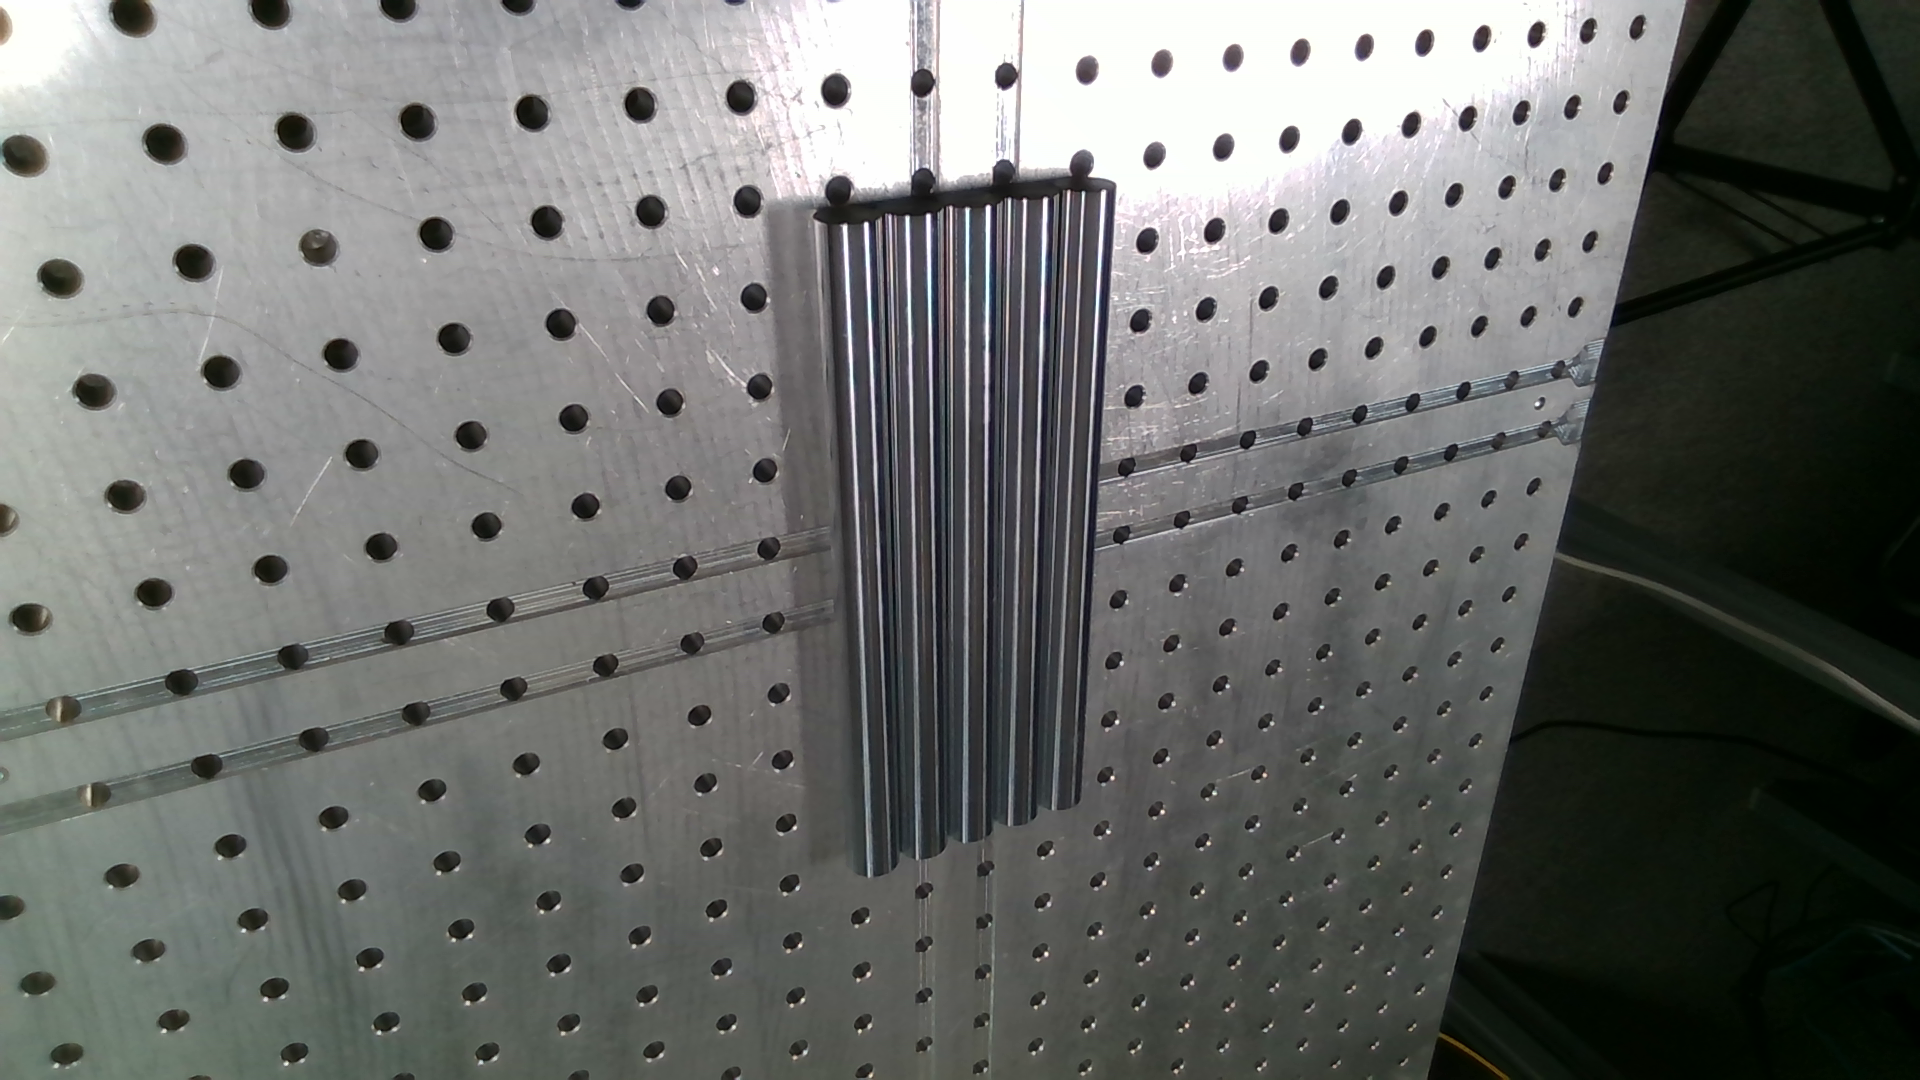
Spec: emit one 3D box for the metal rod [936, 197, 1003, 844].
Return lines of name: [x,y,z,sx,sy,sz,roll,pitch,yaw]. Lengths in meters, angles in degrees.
metal rod: [0.003,0.005,0.588,0.025,0.025,0.301,-14,121,-25]

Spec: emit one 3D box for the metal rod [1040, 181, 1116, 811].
metal rod: [0.048,-0.007,0.609,0.025,0.025,0.301,-14,121,-25]

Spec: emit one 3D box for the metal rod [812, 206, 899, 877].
metal rod: [-0.041,0.015,0.567,0.025,0.025,0.301,-15,122,-25]

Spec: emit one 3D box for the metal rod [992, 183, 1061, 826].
metal rod: [0.025,-0.001,0.599,0.025,0.025,0.301,-14,121,-25]

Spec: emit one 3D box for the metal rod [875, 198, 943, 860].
metal rod: [-0.019,0.010,0.577,0.025,0.025,0.301,-14,121,-25]
